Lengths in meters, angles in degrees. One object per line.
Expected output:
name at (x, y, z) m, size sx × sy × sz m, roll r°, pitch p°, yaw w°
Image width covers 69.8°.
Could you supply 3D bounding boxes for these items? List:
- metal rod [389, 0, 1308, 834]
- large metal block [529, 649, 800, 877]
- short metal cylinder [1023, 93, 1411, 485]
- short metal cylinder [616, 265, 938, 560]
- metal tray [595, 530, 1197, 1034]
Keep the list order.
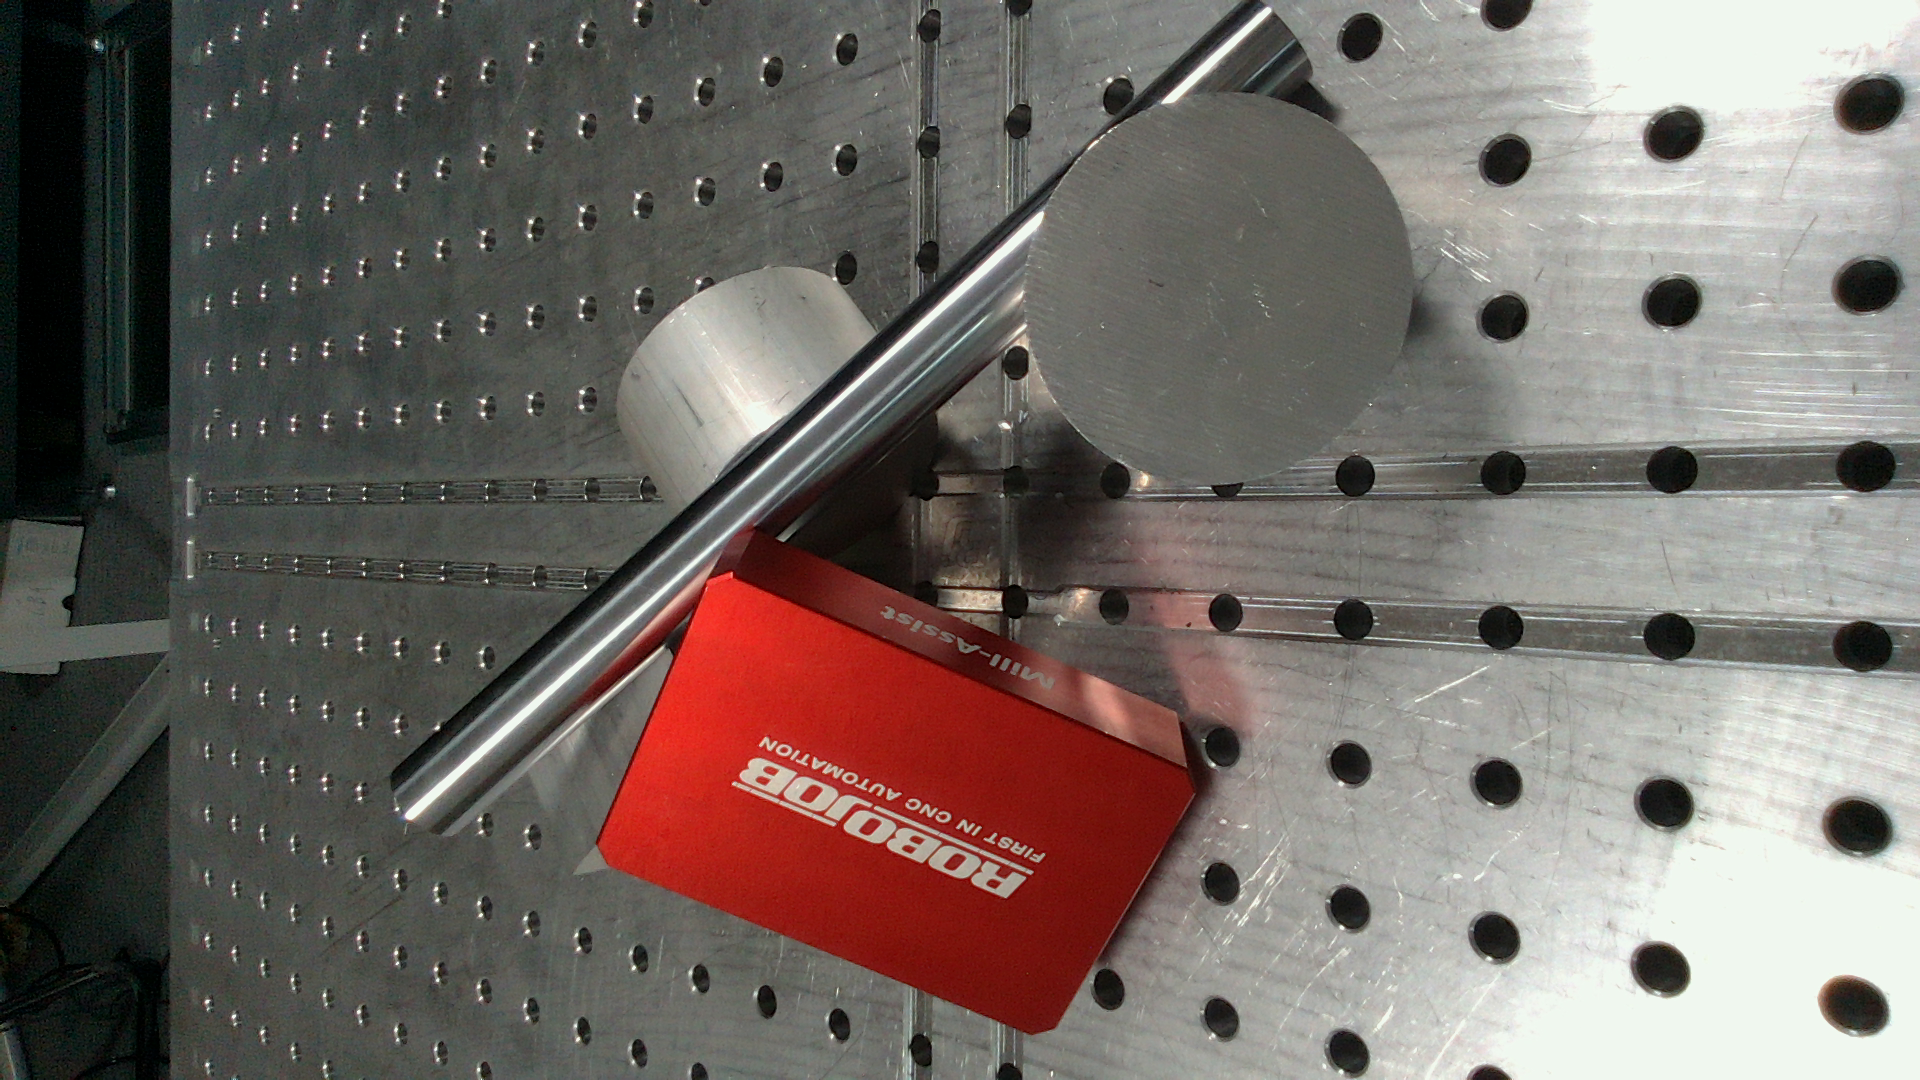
metal rod at (-0.036, -0.026, 0.358) m, size 0.300 × 0.025 × 0.025 m, roll -41°, pitch 63°, yaw 9°
large metal block at (-0.077, 0.054, 0.427) m, size 0.080 × 0.080 × 0.050 m, roll -48°, pitch 62°, yaw 30°
short metal cylinder at (0.054, -0.056, 0.310) m, size 0.080 × 0.050 × 0.080 m, roll 0°, pitch 102°, yaw 3°
short metal cylinder at (-0.054, -0.033, 0.407) m, size 0.080 × 0.080 × 0.050 m, roll -51°, pitch 60°, yaw 28°
metal tray at (-0.017, 0.064, 0.357) m, size 0.130 × 0.030 × 0.090 m, roll 23°, pitch 110°, yaw -6°
